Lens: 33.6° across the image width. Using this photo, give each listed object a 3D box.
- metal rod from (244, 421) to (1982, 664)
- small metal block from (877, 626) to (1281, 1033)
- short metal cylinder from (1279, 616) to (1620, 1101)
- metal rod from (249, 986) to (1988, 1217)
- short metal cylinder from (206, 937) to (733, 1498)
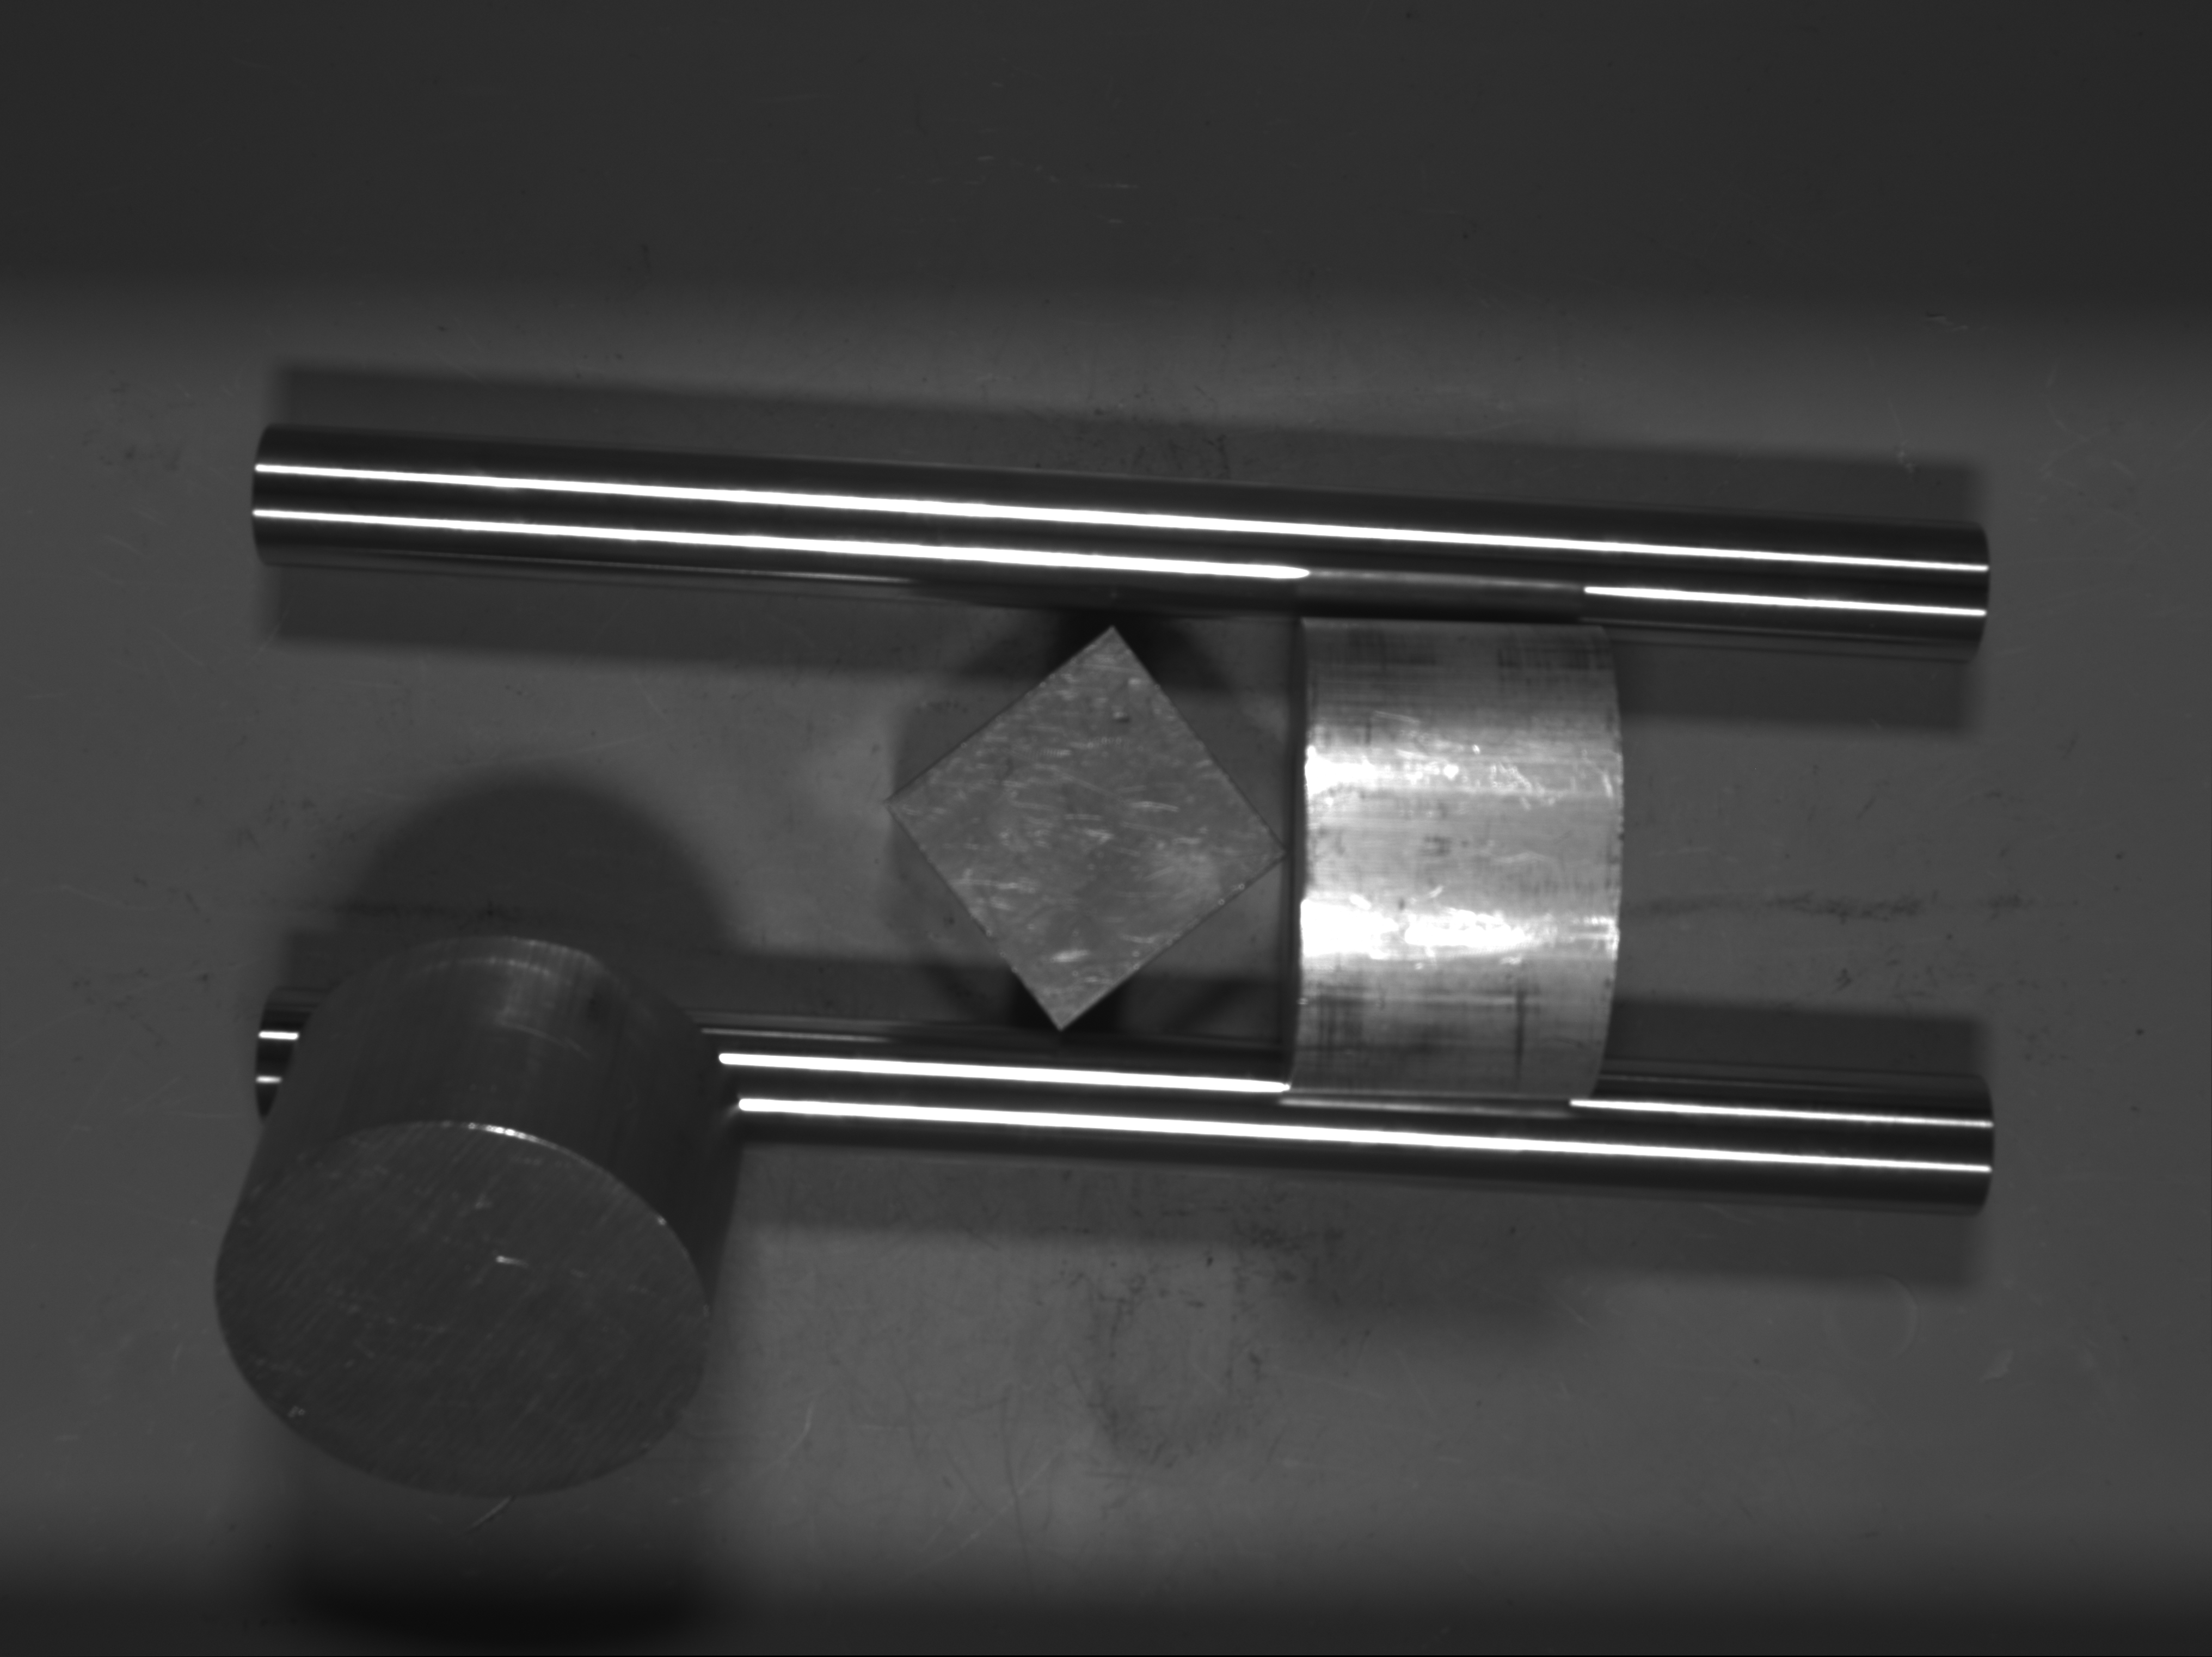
[{"bbox_3d":[0.001,-0.050,0.644,0.300,0.025,0.025,3,90,-1],"label":"metal rod"},{"bbox_3d":[-0.004,0.000,0.644,0.050,0.025,0.050,-38,90,0],"label":"small metal block"},{"bbox_3d":[0.056,0.005,0.617,0.050,0.080,0.080,2,90,0],"label":"short metal cylinder"},{"bbox_3d":[0.002,0.048,0.643,0.300,0.025,0.025,3,90,-1],"label":"metal rod"},{"bbox_3d":[-0.105,0.065,0.613,0.080,0.050,0.080,1,124,1],"label":"short metal cylinder"}]
